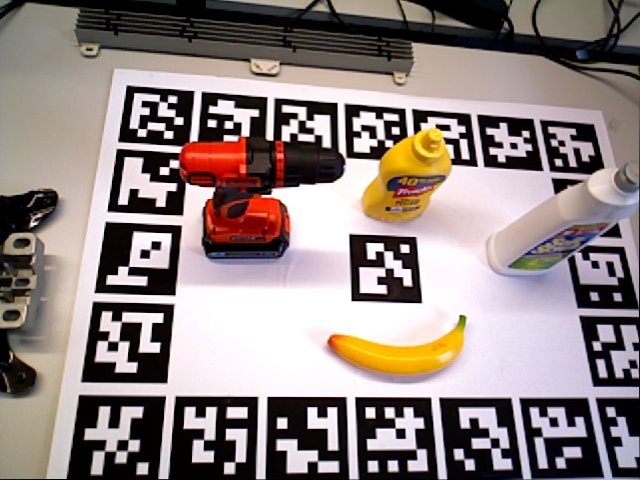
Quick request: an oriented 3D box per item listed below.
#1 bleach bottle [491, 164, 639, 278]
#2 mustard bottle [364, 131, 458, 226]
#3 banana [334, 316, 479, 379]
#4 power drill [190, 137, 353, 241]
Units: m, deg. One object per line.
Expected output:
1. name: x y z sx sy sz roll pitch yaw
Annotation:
1. bleach bottle: 0.321 -0.025 0.686 0.102 0.255 0.067 11 66 -6
2. mustard bottle: 0.127 -0.082 0.711 0.095 0.195 0.058 -4 68 -14
3. banana: 0.116 0.140 0.694 0.196 0.039 0.074 -3 71 -7
4. power drill: -0.052 -0.062 0.640 0.183 0.190 0.057 -3 68 -7
